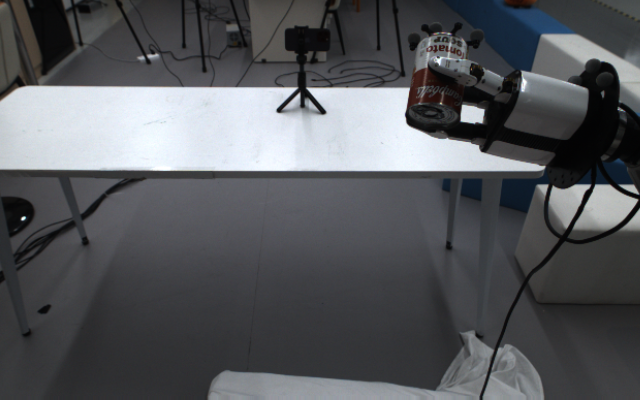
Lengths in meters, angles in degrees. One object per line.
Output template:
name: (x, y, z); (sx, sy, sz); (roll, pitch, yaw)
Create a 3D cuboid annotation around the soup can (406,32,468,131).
soup can: (0.150, -0.151, 0.613); (0.067, 0.067, 0.101); (8, 74, 9)
